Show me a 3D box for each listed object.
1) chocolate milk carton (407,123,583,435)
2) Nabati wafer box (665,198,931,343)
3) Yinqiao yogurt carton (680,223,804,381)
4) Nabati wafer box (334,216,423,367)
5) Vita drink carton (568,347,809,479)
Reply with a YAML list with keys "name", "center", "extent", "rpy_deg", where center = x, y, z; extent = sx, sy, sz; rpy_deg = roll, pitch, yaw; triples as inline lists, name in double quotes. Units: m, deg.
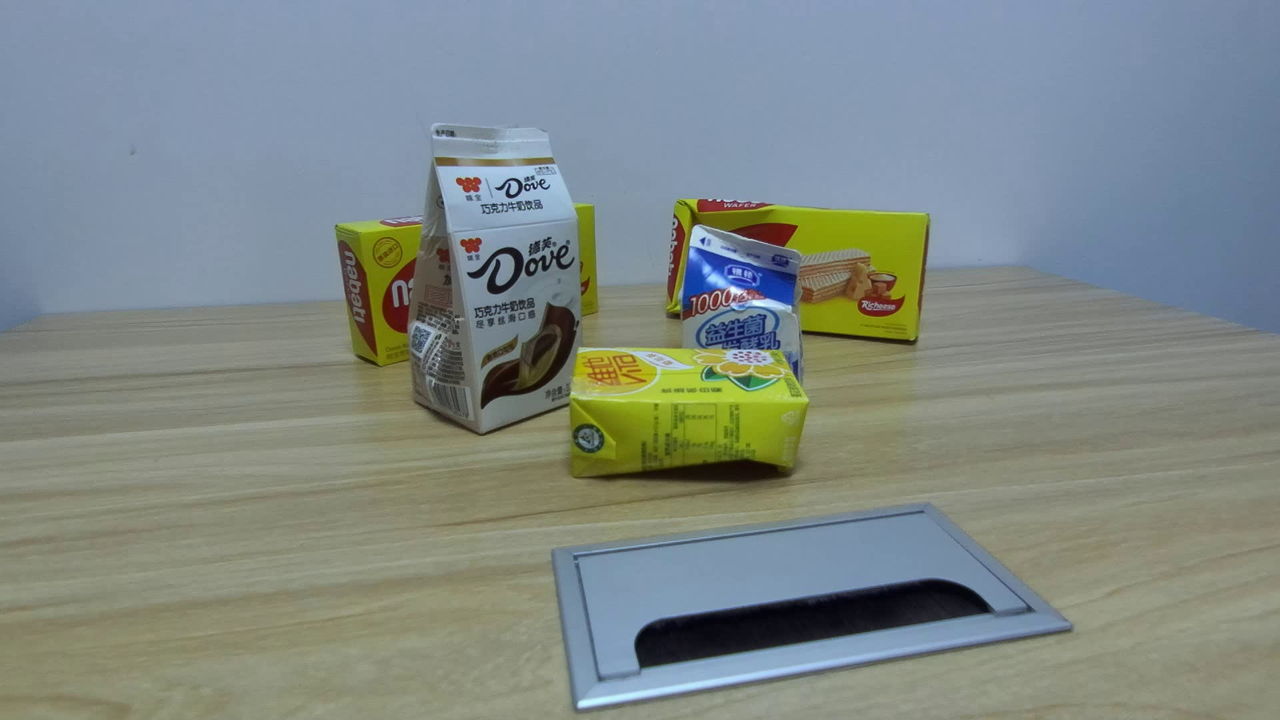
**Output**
- name: "chocolate milk carton"
  center: [-0.085, -0.049, 0.392]
  extent: [0.072, 0.155, 0.085]
  rpy_deg: [17, 26, 42]
- name: "Nabati wafer box"
  center: [0.118, -0.072, 0.557]
  extent: [0.202, 0.096, 0.042]
  rpy_deg: [8, 8, 21]
- name: "Yinqiao yogurt carton"
  center: [0.065, -0.039, 0.450]
  extent: [0.083, 0.093, 0.077]
  rpy_deg: [4, 21, 13]
- name: "Nabati wafer box"
  center: [-0.118, -0.064, 0.541]
  extent: [0.204, 0.093, 0.042]
  rpy_deg: [-18, 25, -42]
- name: "Vita drink carton"
  center: [0.021, 0.026, 0.345]
  extent: [0.109, 0.043, 0.076]
  rpy_deg: [1, 22, -1]
